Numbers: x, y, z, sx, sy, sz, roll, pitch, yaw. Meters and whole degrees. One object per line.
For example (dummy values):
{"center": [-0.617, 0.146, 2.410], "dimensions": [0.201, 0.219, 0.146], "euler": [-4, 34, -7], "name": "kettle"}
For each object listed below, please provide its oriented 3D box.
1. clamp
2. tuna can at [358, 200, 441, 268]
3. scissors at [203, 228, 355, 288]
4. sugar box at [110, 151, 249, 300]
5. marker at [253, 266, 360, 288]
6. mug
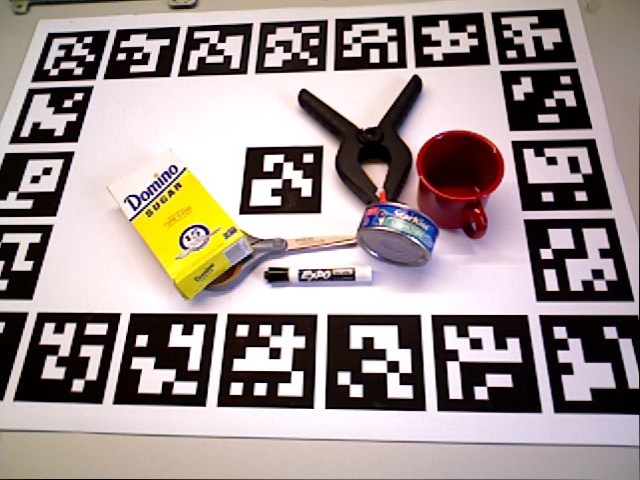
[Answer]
{"center": [0.061, -0.117, 0.678], "dimensions": [0.165, 0.037, 0.201], "euler": [-9, 65, 0], "name": "clamp"}
{"center": [0.085, -0.004, 0.583], "dimensions": [0.086, 0.087, 0.033], "euler": [16, 65, 12], "name": "tuna can"}
{"center": [-0.060, 0.003, 0.627], "dimensions": [0.202, 0.016, 0.087], "euler": [-9, 60, -1], "name": "scissors"}
{"center": [-0.166, -0.025, 0.633], "dimensions": [0.092, 0.046, 0.176], "euler": [-34, 60, -11], "name": "sugar box"}
{"center": [-0.016, 0.041, 0.608], "dimensions": [0.121, 0.020, 0.019], "euler": [-3, 64, 4], "name": "marker"}
{"center": [0.146, -0.050, 0.604], "dimensions": [0.092, 0.083, 0.116], "euler": [-24, 61, -8], "name": "mug"}
